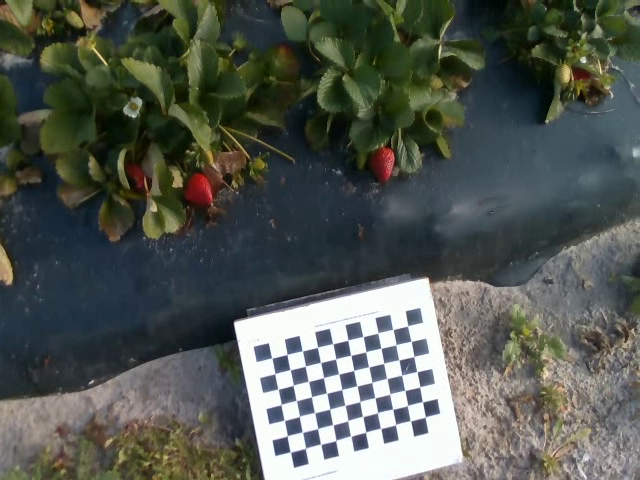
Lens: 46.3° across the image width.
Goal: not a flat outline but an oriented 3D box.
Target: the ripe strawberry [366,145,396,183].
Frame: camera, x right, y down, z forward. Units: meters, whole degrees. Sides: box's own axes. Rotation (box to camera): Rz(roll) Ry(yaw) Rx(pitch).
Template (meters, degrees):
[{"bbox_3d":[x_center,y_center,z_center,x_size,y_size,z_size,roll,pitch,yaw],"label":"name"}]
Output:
[{"bbox_3d":[0.061,-0.068,0.693,0.029,0.036,0.021,-11,-7,-4],"label":"ripe strawberry"}]

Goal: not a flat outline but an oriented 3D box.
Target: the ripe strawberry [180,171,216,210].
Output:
[{"bbox_3d":[-0.109,-0.042,0.661,0.030,0.032,0.026,39,-7,14],"label":"ripe strawberry"}]
